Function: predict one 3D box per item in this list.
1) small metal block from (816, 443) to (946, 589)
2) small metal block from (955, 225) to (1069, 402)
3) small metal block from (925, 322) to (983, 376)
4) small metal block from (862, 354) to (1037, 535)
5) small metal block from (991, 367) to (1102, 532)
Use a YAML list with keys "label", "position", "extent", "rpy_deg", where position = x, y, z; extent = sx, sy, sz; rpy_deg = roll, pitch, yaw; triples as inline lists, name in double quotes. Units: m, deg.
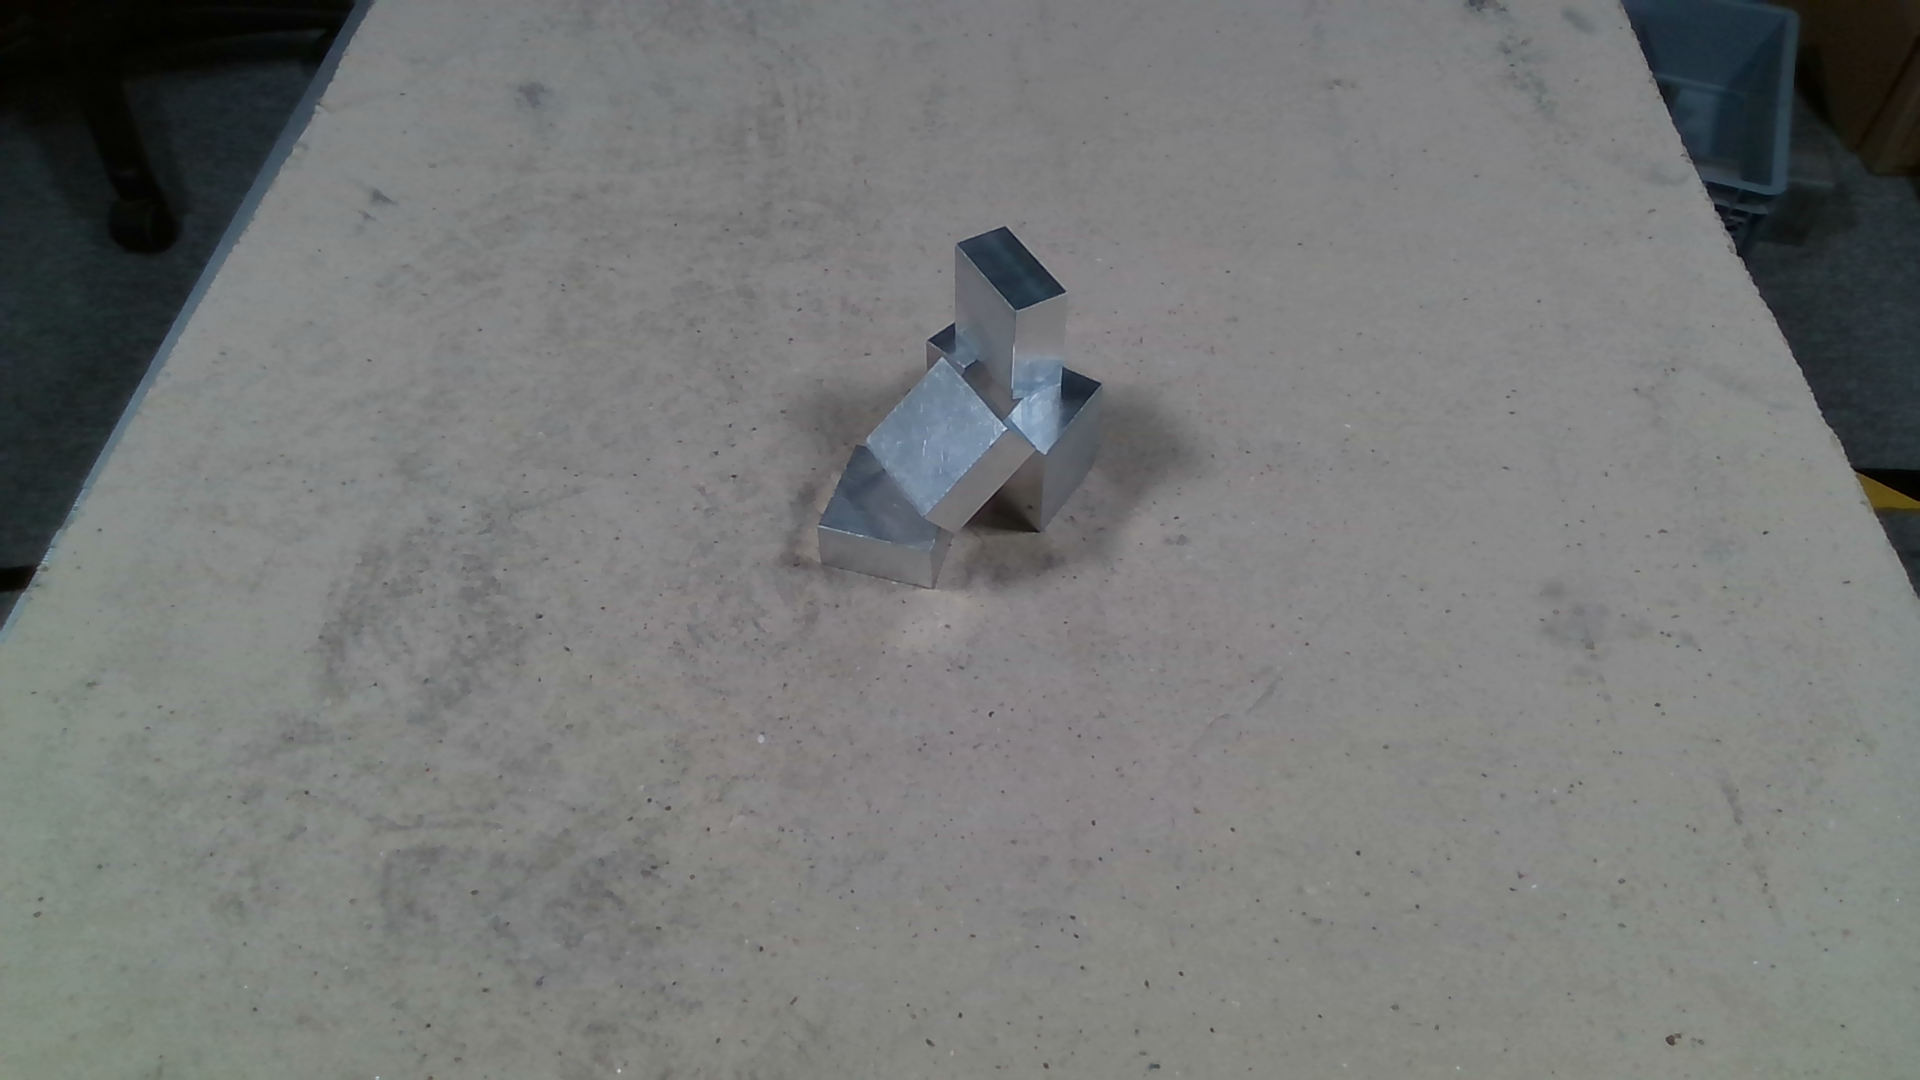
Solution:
- label: "small metal block"
  position: [-0.030, -0.011, 0.597]
  extent: [0.050, 0.025, 0.050]
  rpy_deg: [12, 51, 10]
- label: "small metal block"
  position: [0.021, -0.096, 0.586]
  extent: [0.025, 0.050, 0.050]
  rpy_deg: [-24, 54, -18]
- label: "small metal block"
  position: [0.011, -0.080, 0.638]
  extent: [0.050, 0.050, 0.025]
  rpy_deg: [-37, 59, -27]
- label: "small metal block"
  position: [-0.005, -0.040, 0.572]
  extent: [0.050, 0.025, 0.050]
  rpy_deg: [-46, 56, 12]
- label: "small metal block"
  position: [0.038, -0.041, 0.605]
  extent: [0.025, 0.050, 0.050]
  rpy_deg: [26, 55, 20]
